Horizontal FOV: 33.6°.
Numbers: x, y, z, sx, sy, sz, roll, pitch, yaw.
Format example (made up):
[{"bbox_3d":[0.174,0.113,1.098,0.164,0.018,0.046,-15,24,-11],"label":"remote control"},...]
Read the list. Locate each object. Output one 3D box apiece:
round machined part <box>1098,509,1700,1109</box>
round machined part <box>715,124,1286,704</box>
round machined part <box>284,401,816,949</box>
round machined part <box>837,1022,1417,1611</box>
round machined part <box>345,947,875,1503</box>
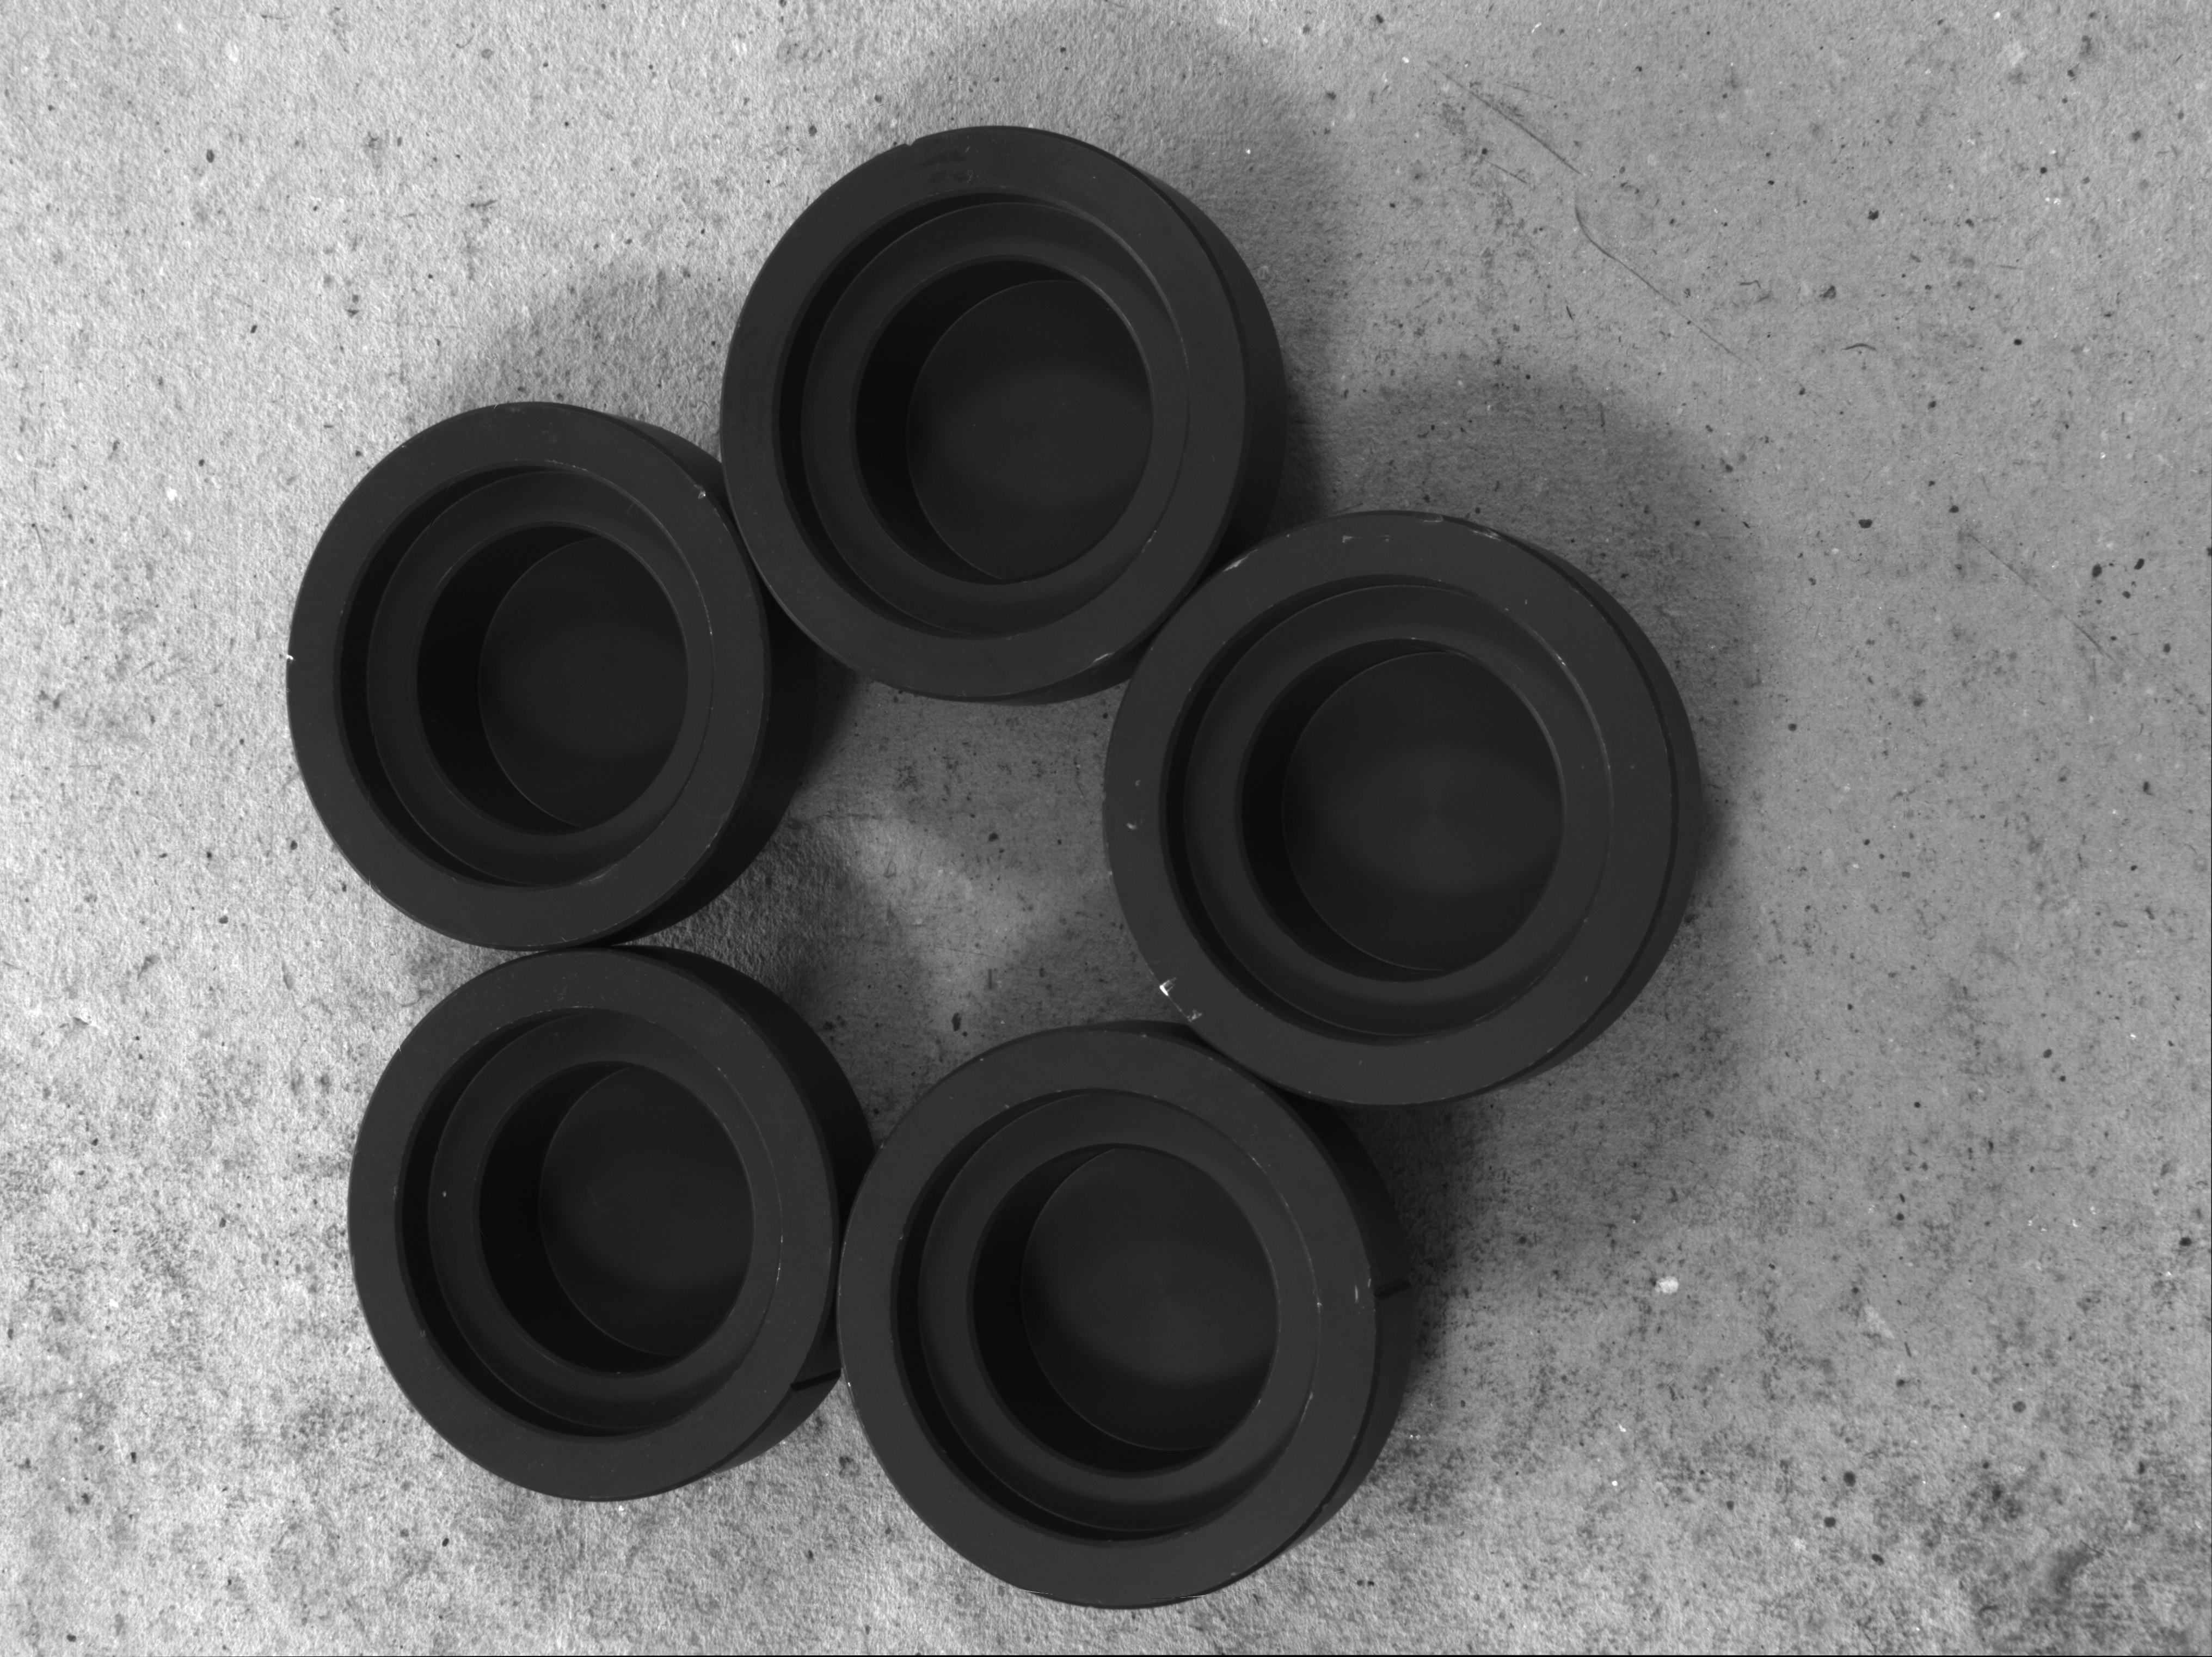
[{"bbox_3d":[0.051,-0.003,0.618,0.098,0.042,0.098,-1,88,19],"label":"round machined part"},{"bbox_3d":[-0.015,-0.070,0.642,0.098,0.042,0.098,-1,88,19],"label":"round machined part"},{"bbox_3d":[-0.097,-0.027,0.672,0.098,0.042,0.098,-1,88,20],"label":"round machined part"},{"bbox_3d":[0.007,0.082,0.635,0.098,0.042,0.098,0,89,19],"label":"round machined part"},{"bbox_3d":[-0.085,0.071,0.667,0.098,0.042,0.098,-1,88,19],"label":"round machined part"}]
